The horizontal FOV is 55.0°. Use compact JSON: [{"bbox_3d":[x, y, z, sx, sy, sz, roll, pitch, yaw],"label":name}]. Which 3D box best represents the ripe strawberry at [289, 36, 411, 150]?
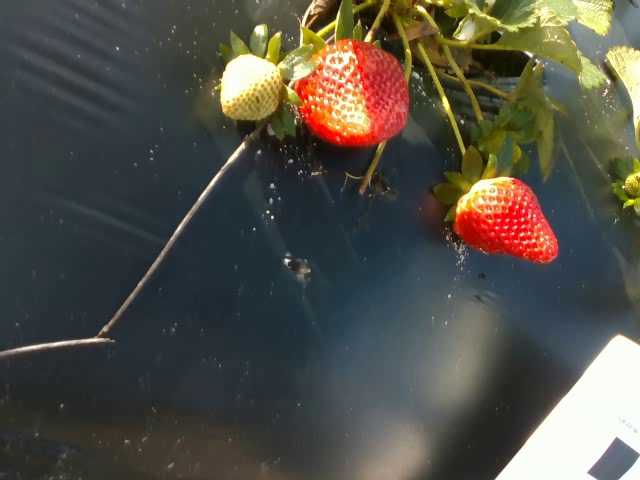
[{"bbox_3d":[0.012,-0.039,0.167,0.035,0.041,0.036,19,35,-18],"label":"ripe strawberry"}]

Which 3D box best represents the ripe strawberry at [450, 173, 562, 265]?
[{"bbox_3d":[0.065,-0.005,0.198,0.037,0.039,0.033,-38,-46,9],"label":"ripe strawberry"}]
